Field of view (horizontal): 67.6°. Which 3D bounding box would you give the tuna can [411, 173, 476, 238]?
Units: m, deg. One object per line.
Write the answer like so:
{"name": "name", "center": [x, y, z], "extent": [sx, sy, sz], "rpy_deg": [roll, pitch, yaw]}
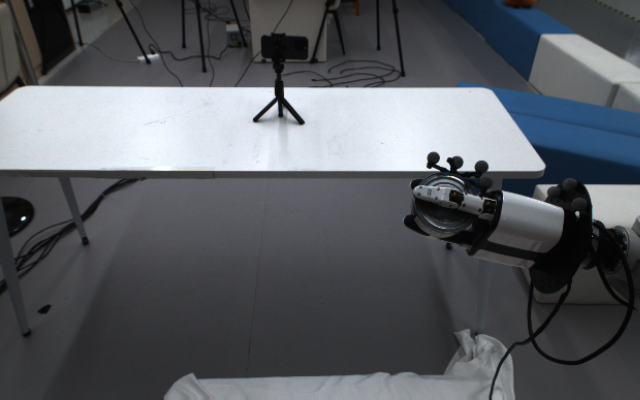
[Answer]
{"name": "tuna can", "center": [0.169, 0.005, 0.661], "extent": [0.085, 0.034, 0.085], "rpy_deg": [0, 71, 0]}
